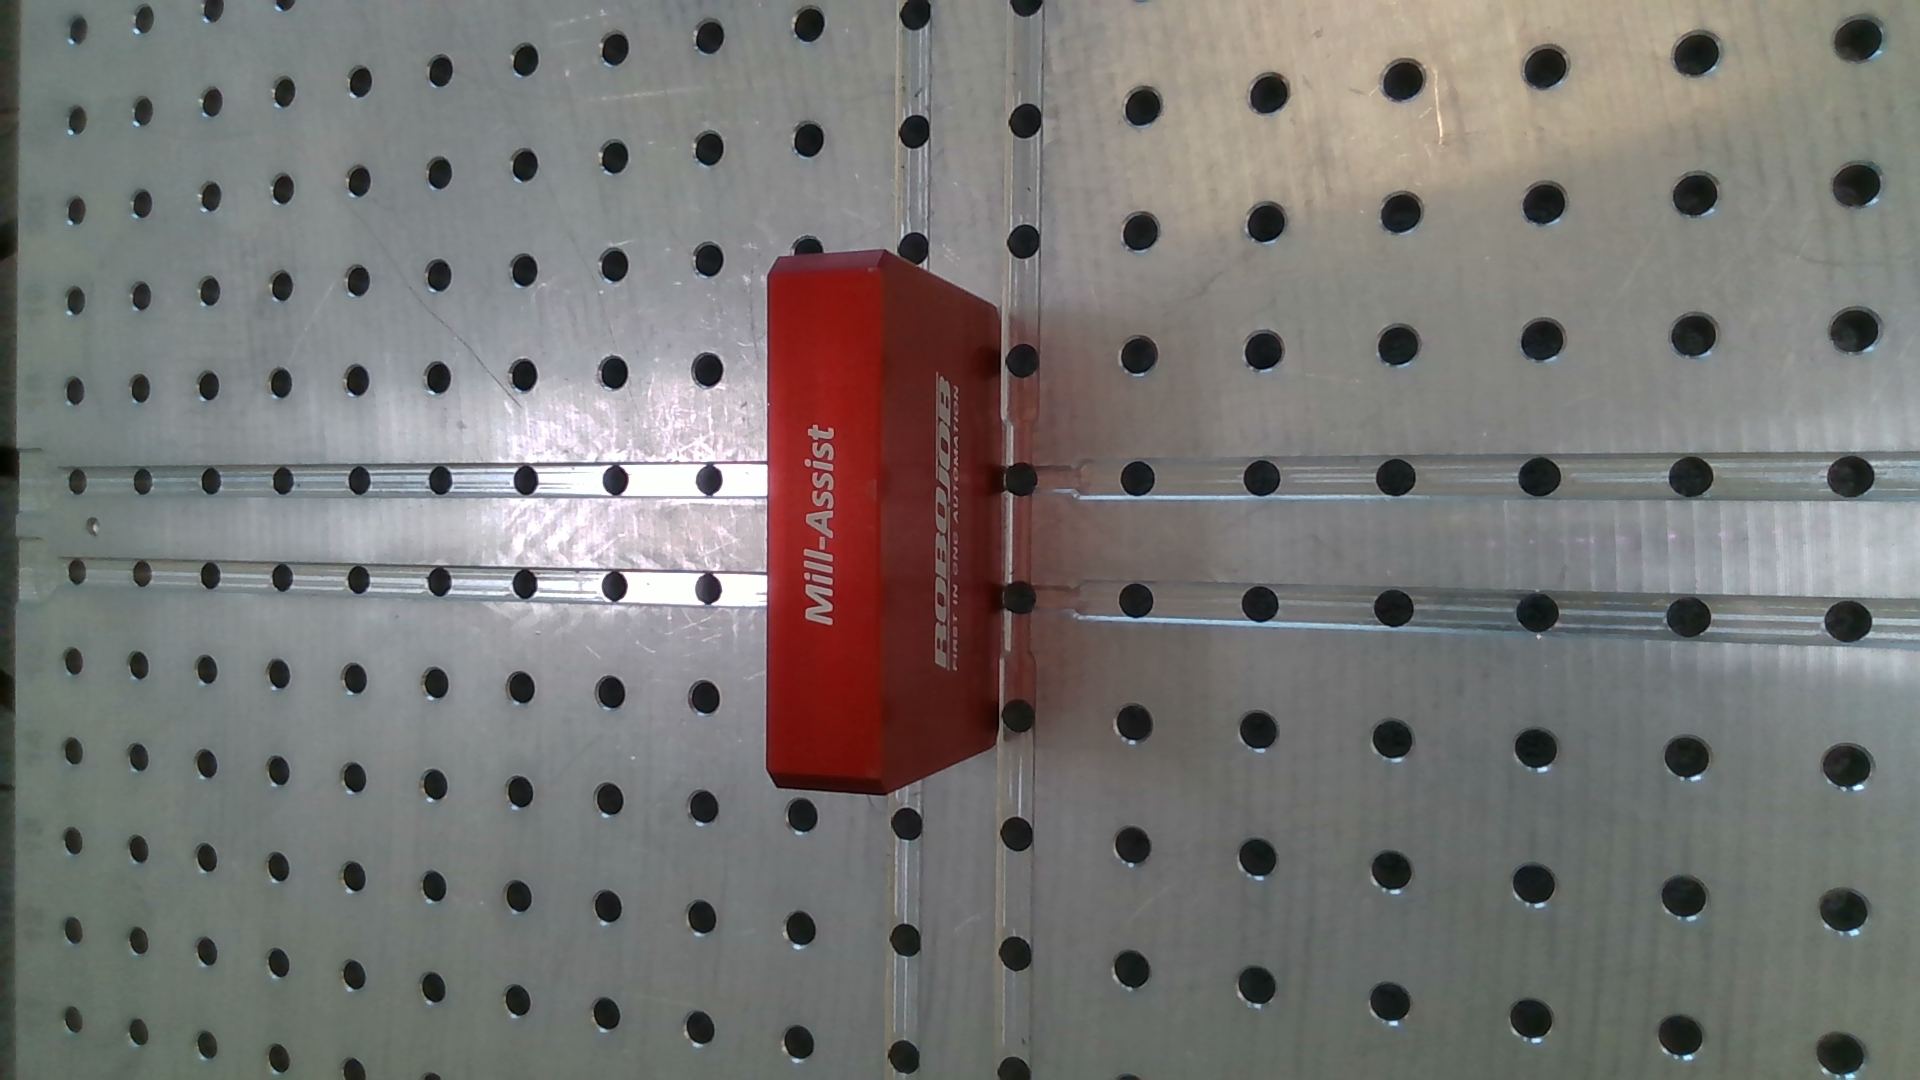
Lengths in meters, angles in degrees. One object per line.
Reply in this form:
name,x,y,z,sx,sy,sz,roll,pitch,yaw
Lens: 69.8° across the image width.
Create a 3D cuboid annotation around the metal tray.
metal tray,-0.018,-0.004,0.368,0.030,0.090,0.130,0,90,20
